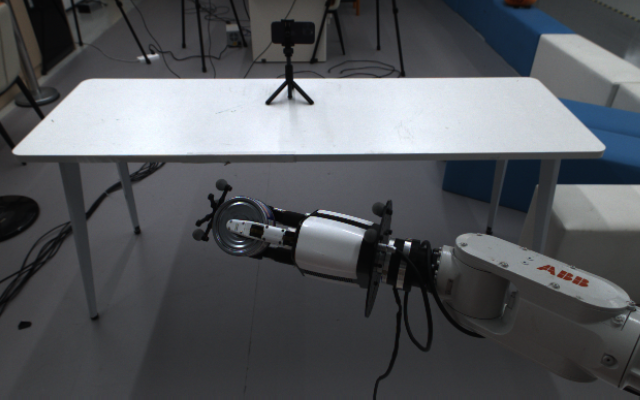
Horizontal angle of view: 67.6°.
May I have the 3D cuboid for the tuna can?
[{"bbox_3d":[-0.107,0.036,0.687,0.085,0.085,0.034,12,-4,14],"label":"tuna can"}]
